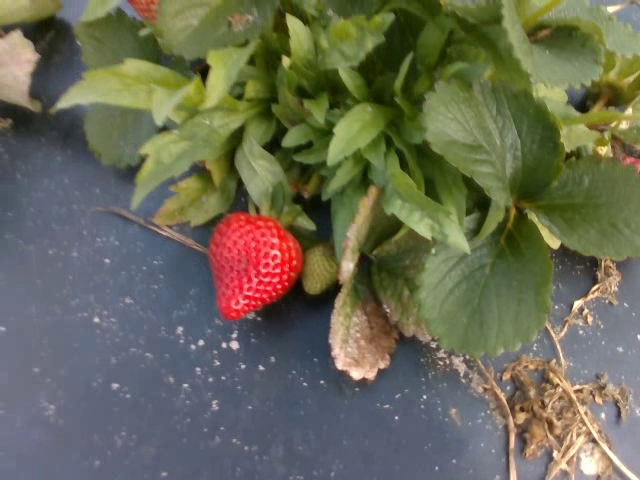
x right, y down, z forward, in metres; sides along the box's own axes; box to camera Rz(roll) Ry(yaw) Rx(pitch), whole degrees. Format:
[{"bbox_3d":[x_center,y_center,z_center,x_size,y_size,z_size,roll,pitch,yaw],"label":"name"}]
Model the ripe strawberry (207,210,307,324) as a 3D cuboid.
[{"bbox_3d":[-0.030,0.013,0.253,0.043,0.051,0.043,17,-26,6],"label":"ripe strawberry"}]
